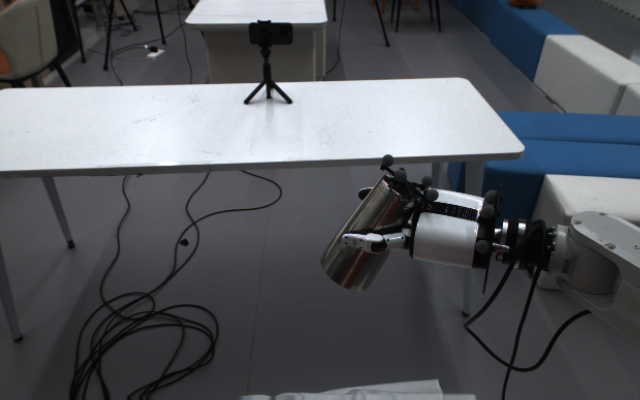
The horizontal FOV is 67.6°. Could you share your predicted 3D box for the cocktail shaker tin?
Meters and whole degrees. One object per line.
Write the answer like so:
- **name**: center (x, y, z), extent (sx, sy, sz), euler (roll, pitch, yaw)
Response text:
- **cocktail shaker tin**: center (0.081, 0.043, 0.740), extent (0.093, 0.170, 0.093), euler (25, 29, -15)
